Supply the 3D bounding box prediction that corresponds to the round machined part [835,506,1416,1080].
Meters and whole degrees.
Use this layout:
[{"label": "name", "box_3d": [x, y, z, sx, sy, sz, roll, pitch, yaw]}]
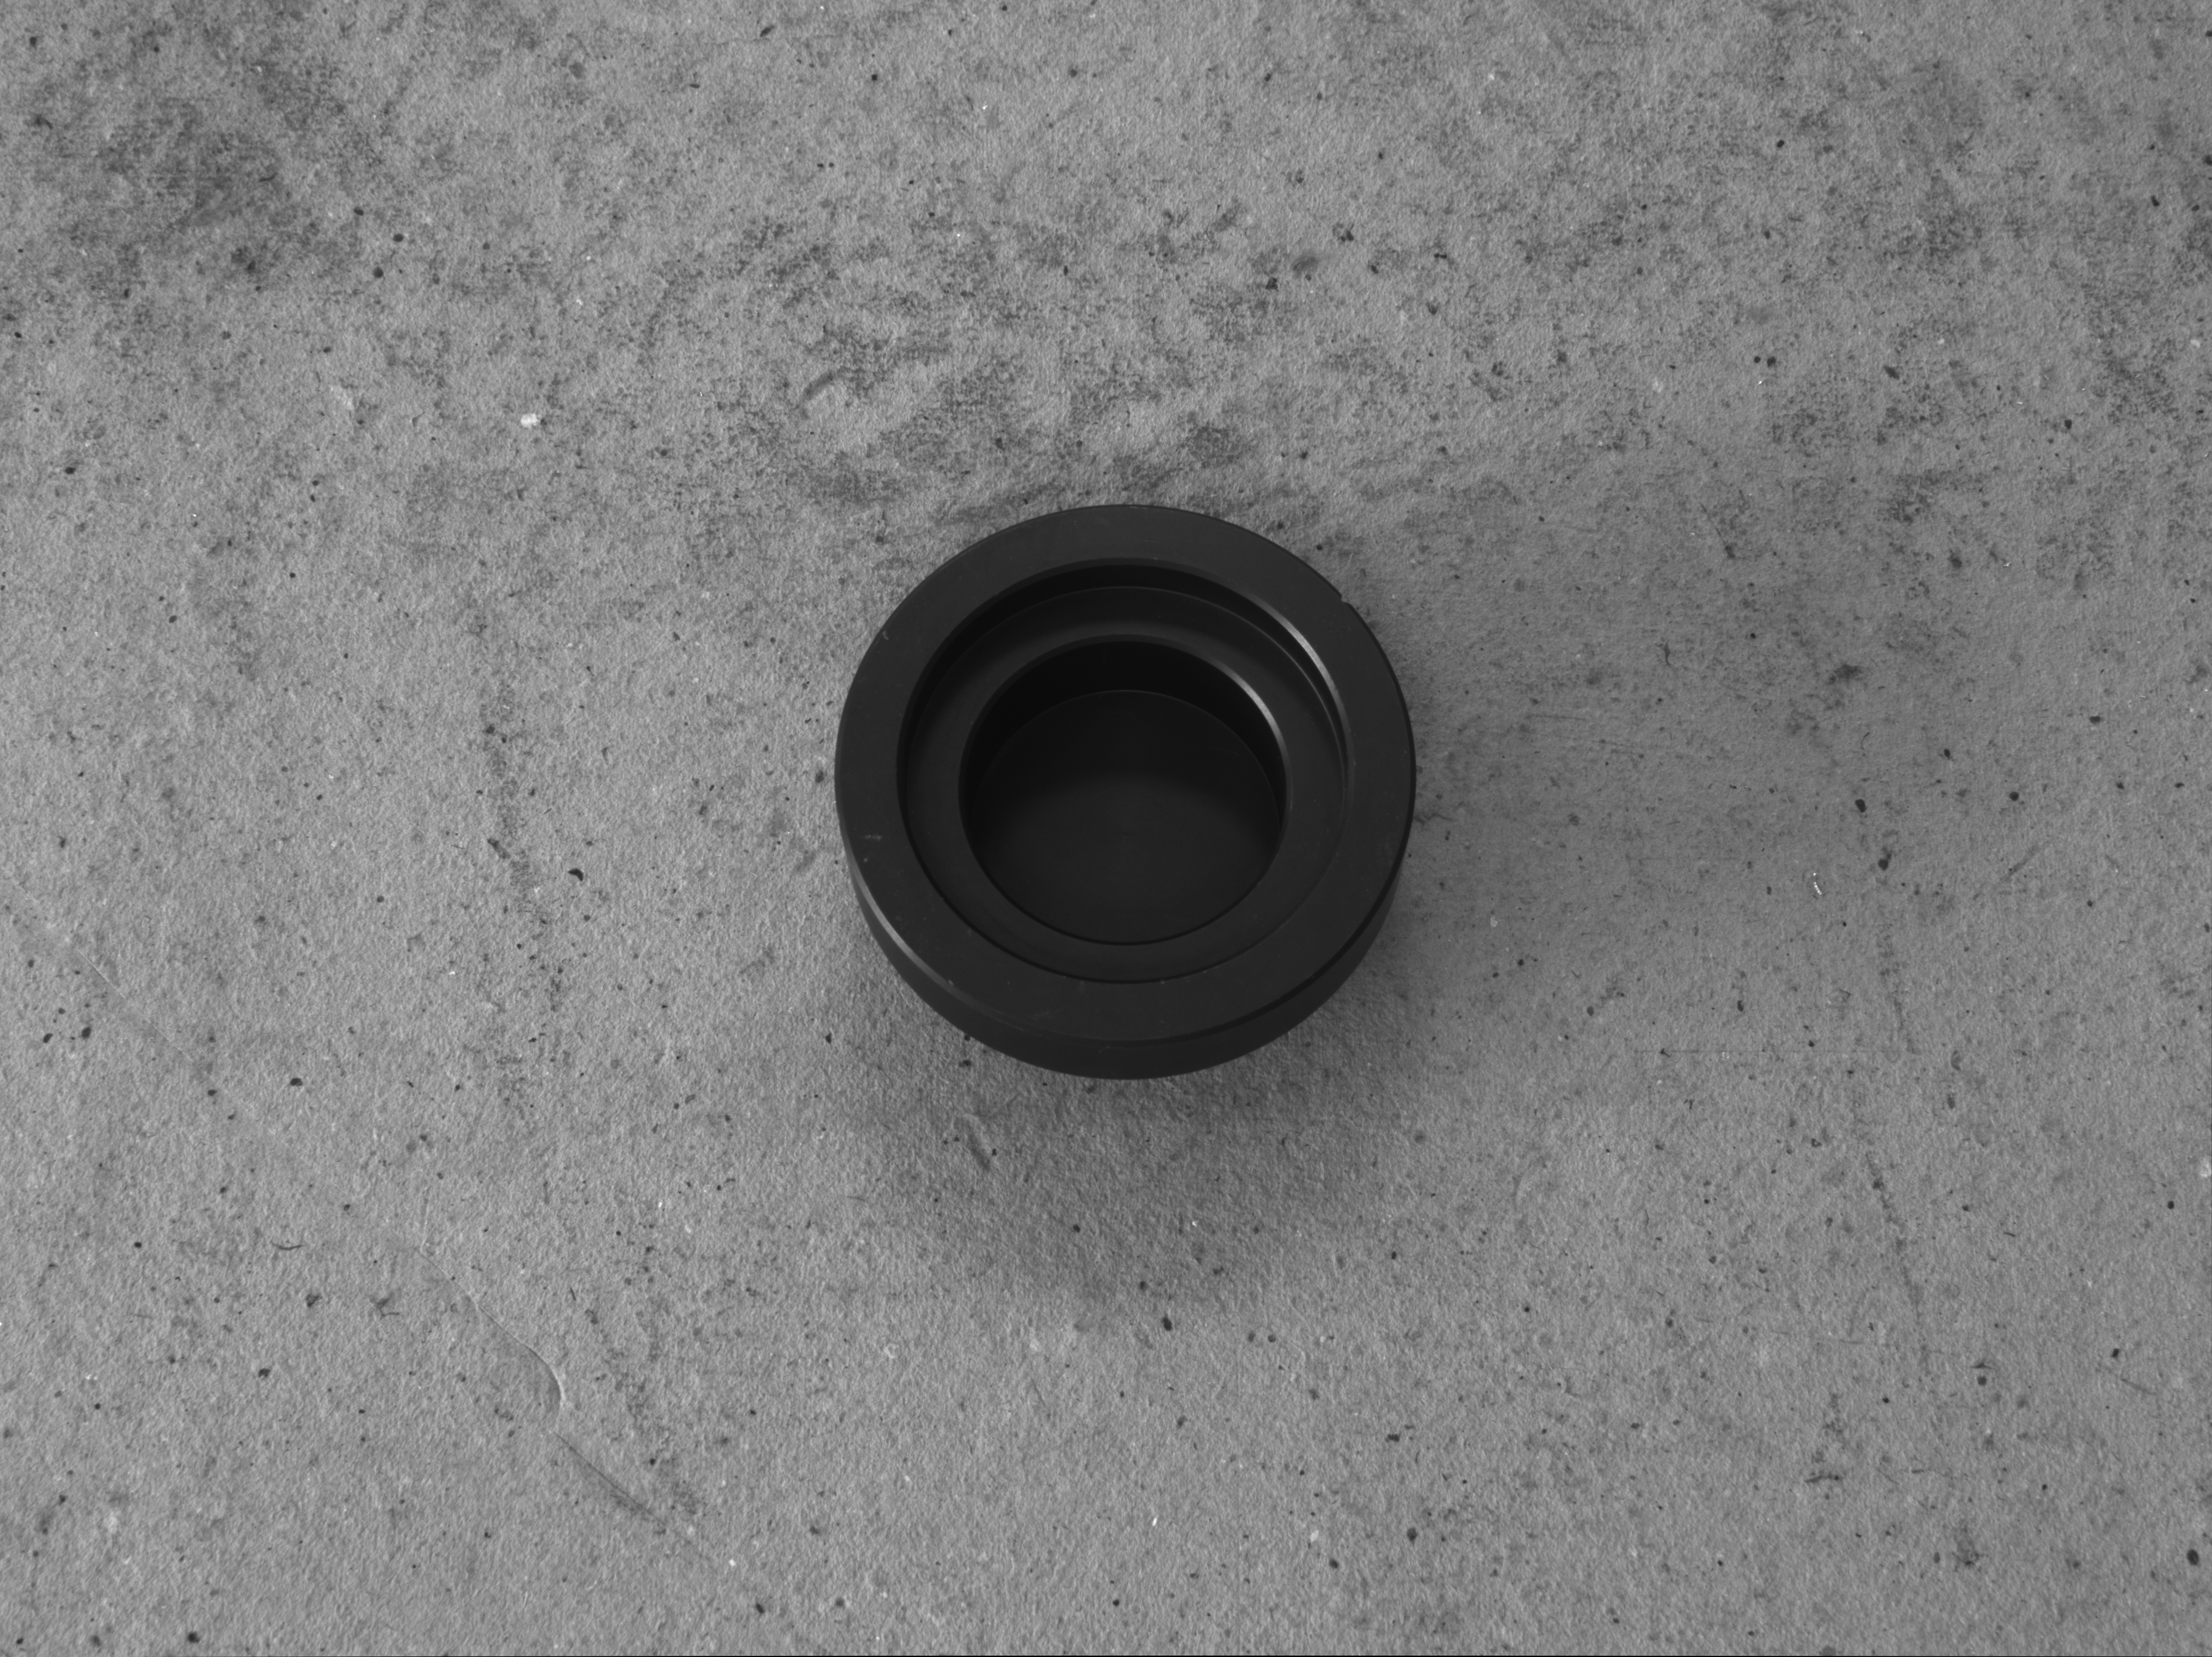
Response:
[{"label": "round machined part", "box_3d": [0.004, -0.003, 0.638, 0.098, 0.042, 0.098, 0, 70, 0]}]
